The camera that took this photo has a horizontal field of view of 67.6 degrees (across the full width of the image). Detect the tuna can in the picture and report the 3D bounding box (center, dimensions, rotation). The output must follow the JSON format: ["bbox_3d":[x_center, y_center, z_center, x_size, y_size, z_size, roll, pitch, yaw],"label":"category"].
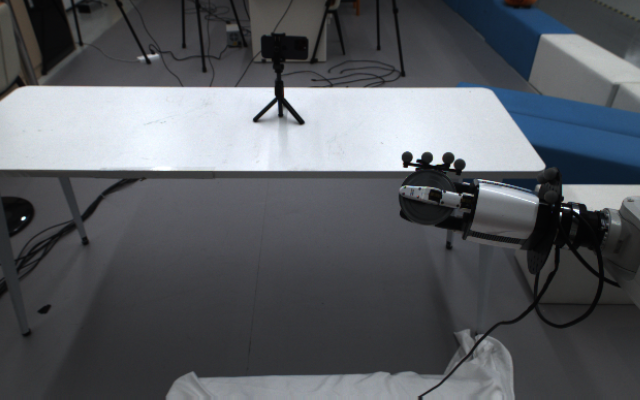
[{"bbox_3d":[0.164,-0.008,0.739,0.085,0.085,0.034,11,-7,12],"label":"tuna can"}]
